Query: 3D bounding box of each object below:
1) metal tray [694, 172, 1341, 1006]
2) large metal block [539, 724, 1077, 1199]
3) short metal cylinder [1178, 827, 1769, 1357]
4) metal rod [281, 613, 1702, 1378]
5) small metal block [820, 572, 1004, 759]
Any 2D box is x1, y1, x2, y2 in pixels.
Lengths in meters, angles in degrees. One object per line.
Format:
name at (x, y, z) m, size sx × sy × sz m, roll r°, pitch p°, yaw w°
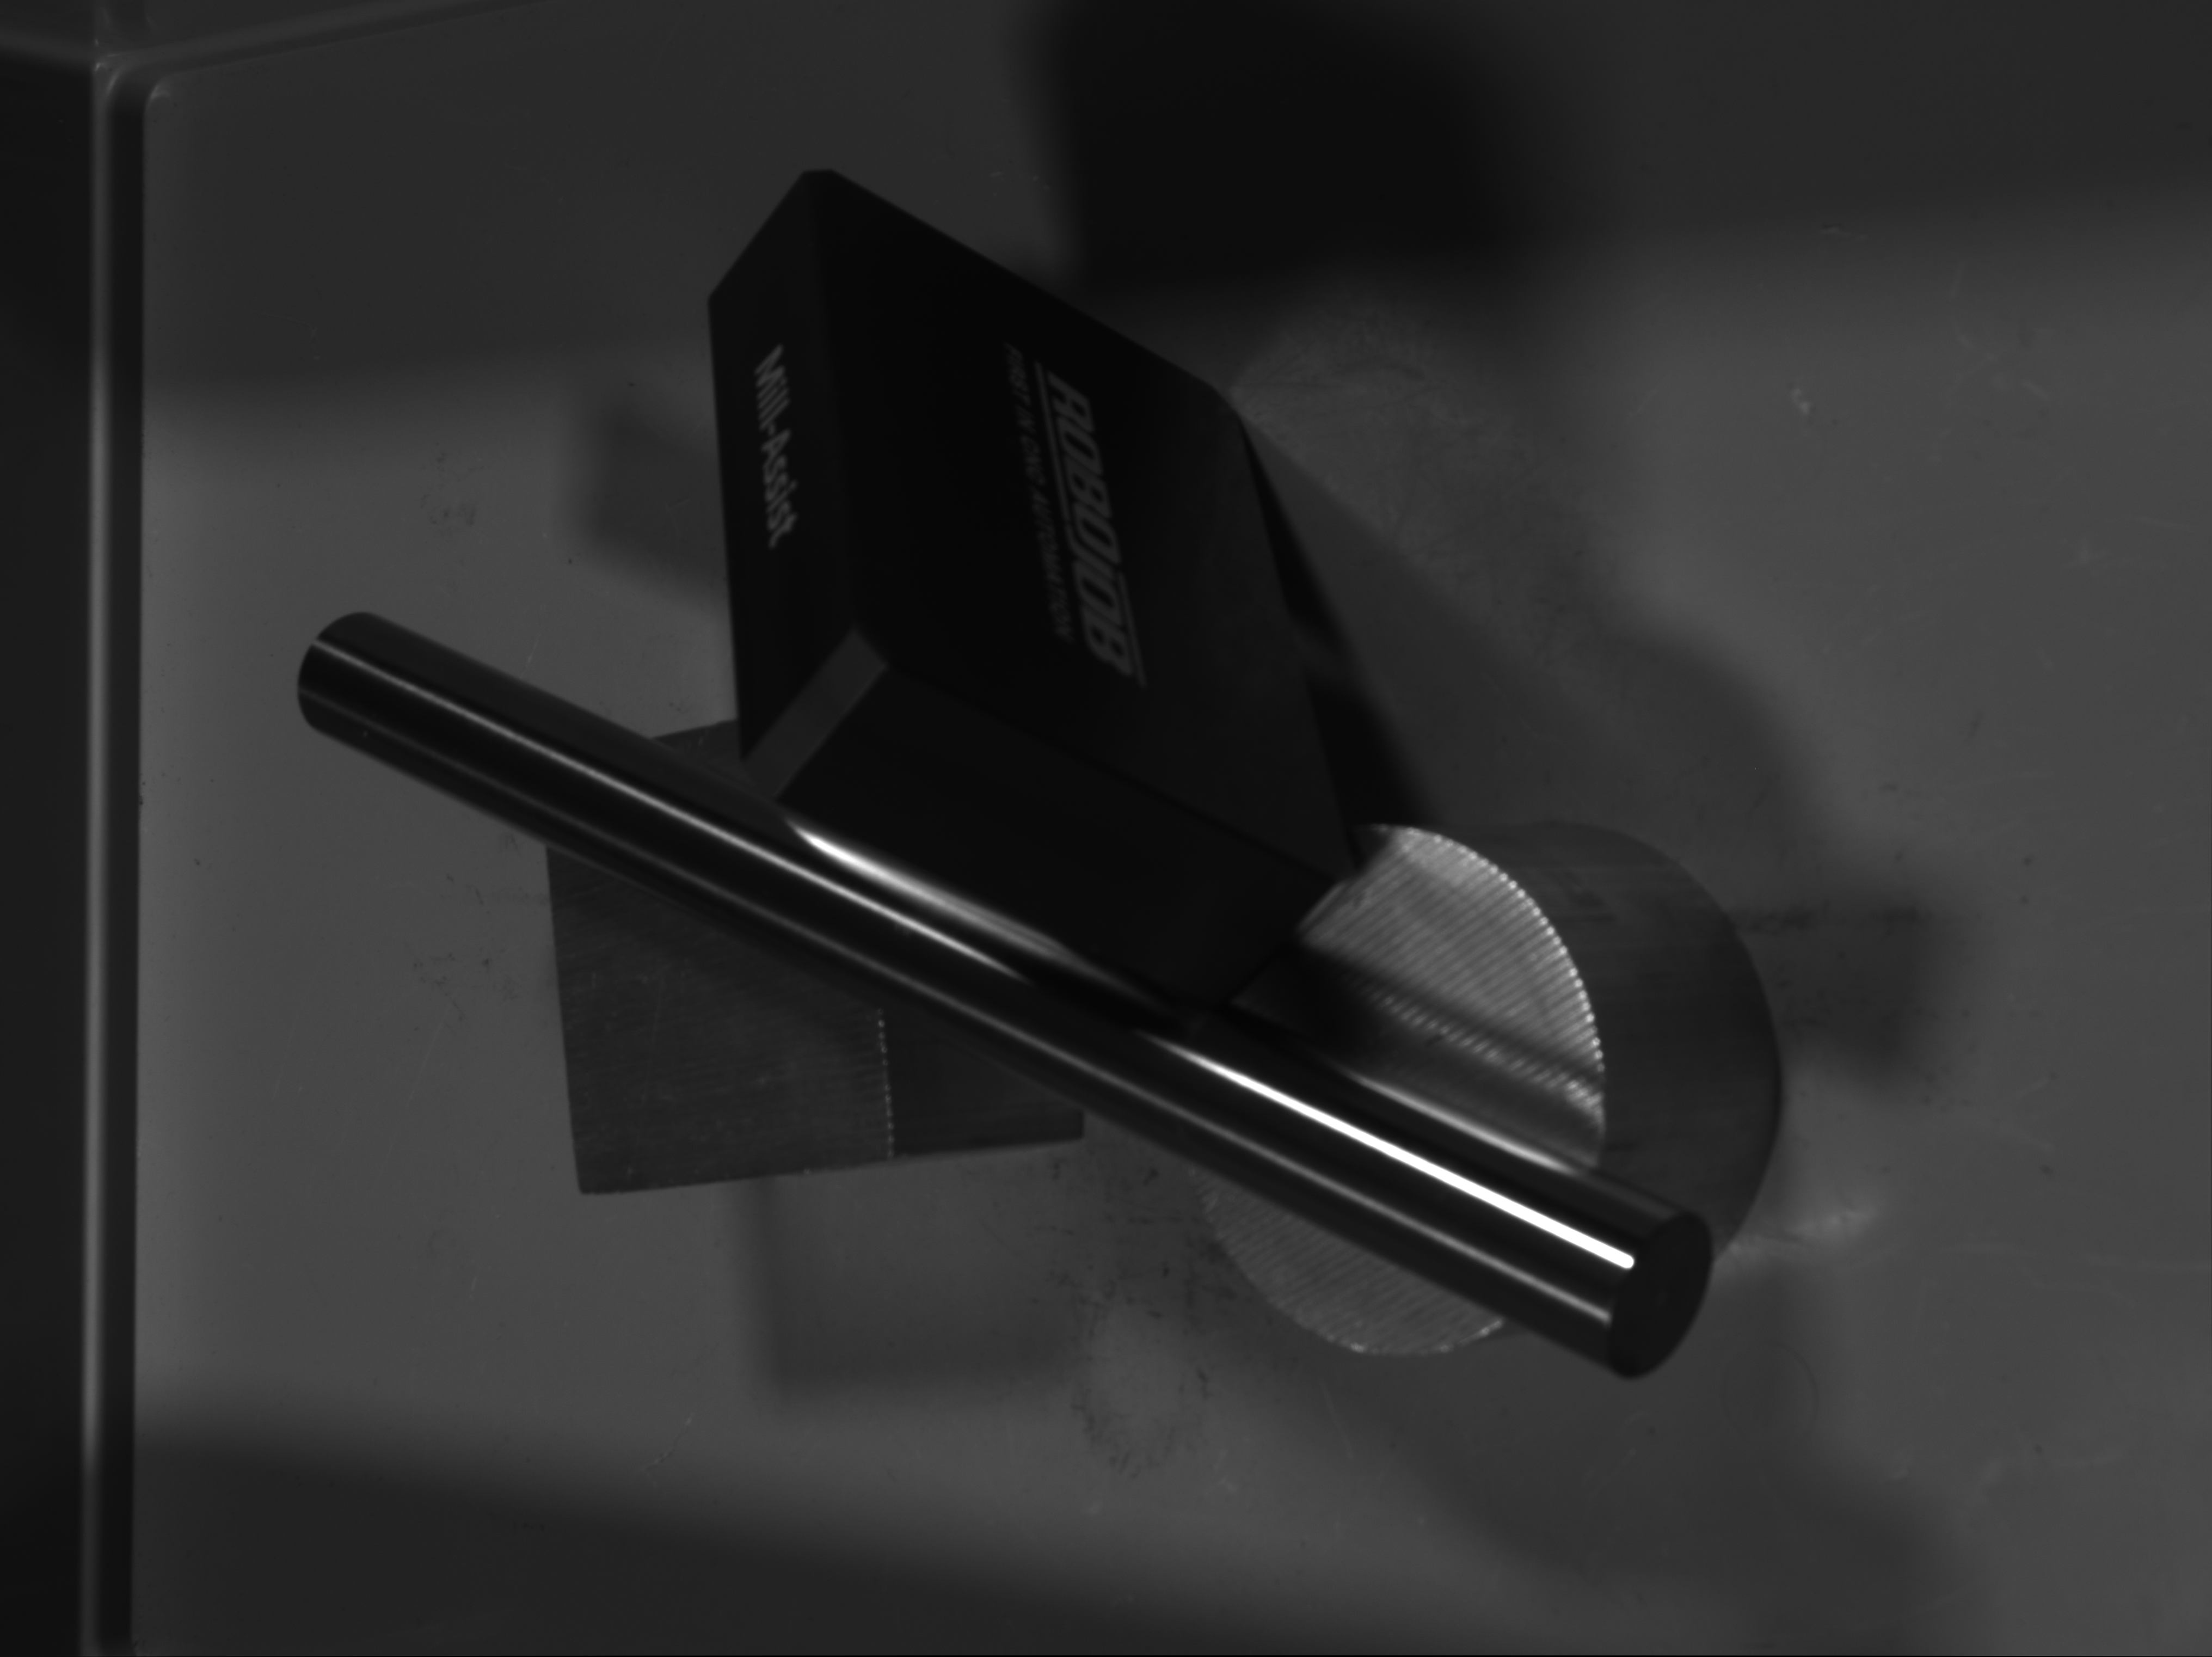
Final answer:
metal tray at (-0.017, -0.040, 0.575) m, size 0.030 × 0.090 × 0.130 m, roll -47°, pitch 32°, yaw 28°
large metal block at (-0.056, 0.022, 0.665) m, size 0.080 × 0.050 × 0.080 m, roll -10°, pitch 83°, yaw 39°
short metal cylinder at (0.056, 0.040, 0.573) m, size 0.080 × 0.050 × 0.080 m, roll 0°, pitch 90°, yaw 39°
metal rod at (-0.035, 0.018, 0.597) m, size 0.299 × 0.025 × 0.025 m, roll 23°, pitch 104°, yaw 37°
small metal block at (-0.032, -0.040, 0.618) m, size 0.050 × 0.025 × 0.050 m, roll -3°, pitch 51°, yaw 13°
